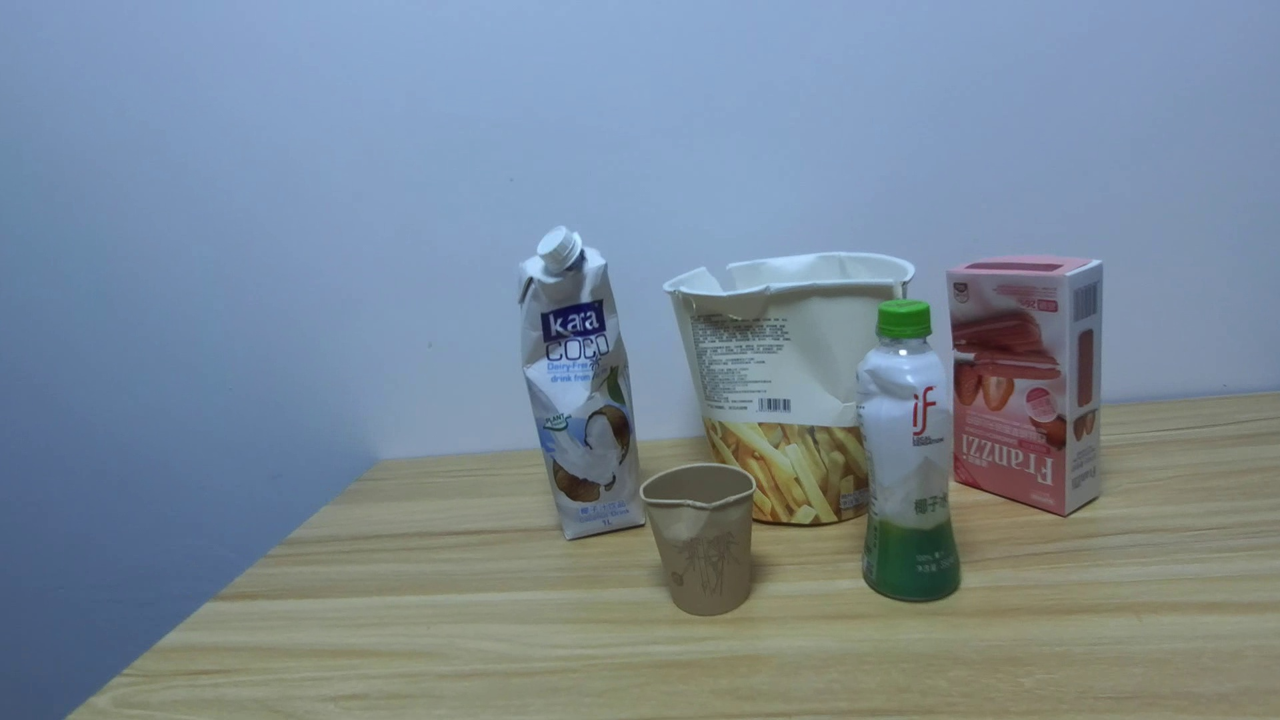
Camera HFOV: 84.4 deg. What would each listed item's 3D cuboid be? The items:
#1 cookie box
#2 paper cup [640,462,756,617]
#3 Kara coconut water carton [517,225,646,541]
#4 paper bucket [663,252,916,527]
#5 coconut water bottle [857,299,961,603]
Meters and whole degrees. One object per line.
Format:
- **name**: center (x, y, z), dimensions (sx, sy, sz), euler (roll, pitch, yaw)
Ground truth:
- **cookie box**: center (0.294, 0.016, 0.552), dimensions (0.049, 0.187, 0.104), euler (-16, 16, -28)
- **paper cup**: center (0.043, 0.121, 0.480), dimensions (0.074, 0.081, 0.068), euler (-15, 16, -27)
- **Kara coconut water carton**: center (-0.051, 0.018, 0.588), dimensions (0.083, 0.255, 0.078), euler (-5, 16, 8)
- **paper bucket**: center (0.129, 0.017, 0.602), dimensions (0.202, 0.197, 0.146), euler (-3, 16, 19)
- **coconut water bottle**: center (0.172, 0.057, 0.452), dimensions (0.069, 0.186, 0.069), euler (-6, 14, 2)
